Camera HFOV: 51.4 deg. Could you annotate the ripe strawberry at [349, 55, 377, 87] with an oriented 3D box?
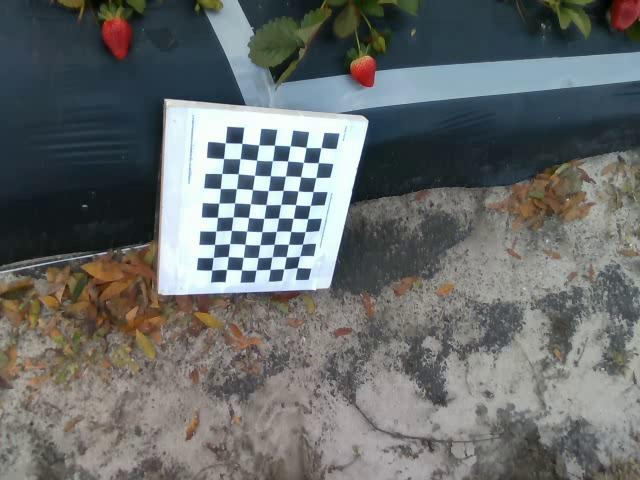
[{"bbox_3d":[0.061,-0.226,0.877,0.039,0.047,0.041,-25,31,4],"label":"ripe strawberry"}]
